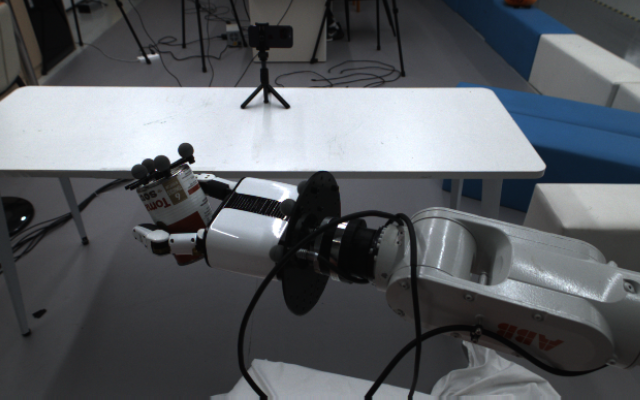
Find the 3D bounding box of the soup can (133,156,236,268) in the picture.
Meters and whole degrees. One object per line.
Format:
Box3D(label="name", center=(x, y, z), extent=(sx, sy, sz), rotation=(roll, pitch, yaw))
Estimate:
Box3D(label="soup can", center=(-0.160, 0.018, 0.573), extent=(0.067, 0.101, 0.067), rotation=(-23, 16, 7))
